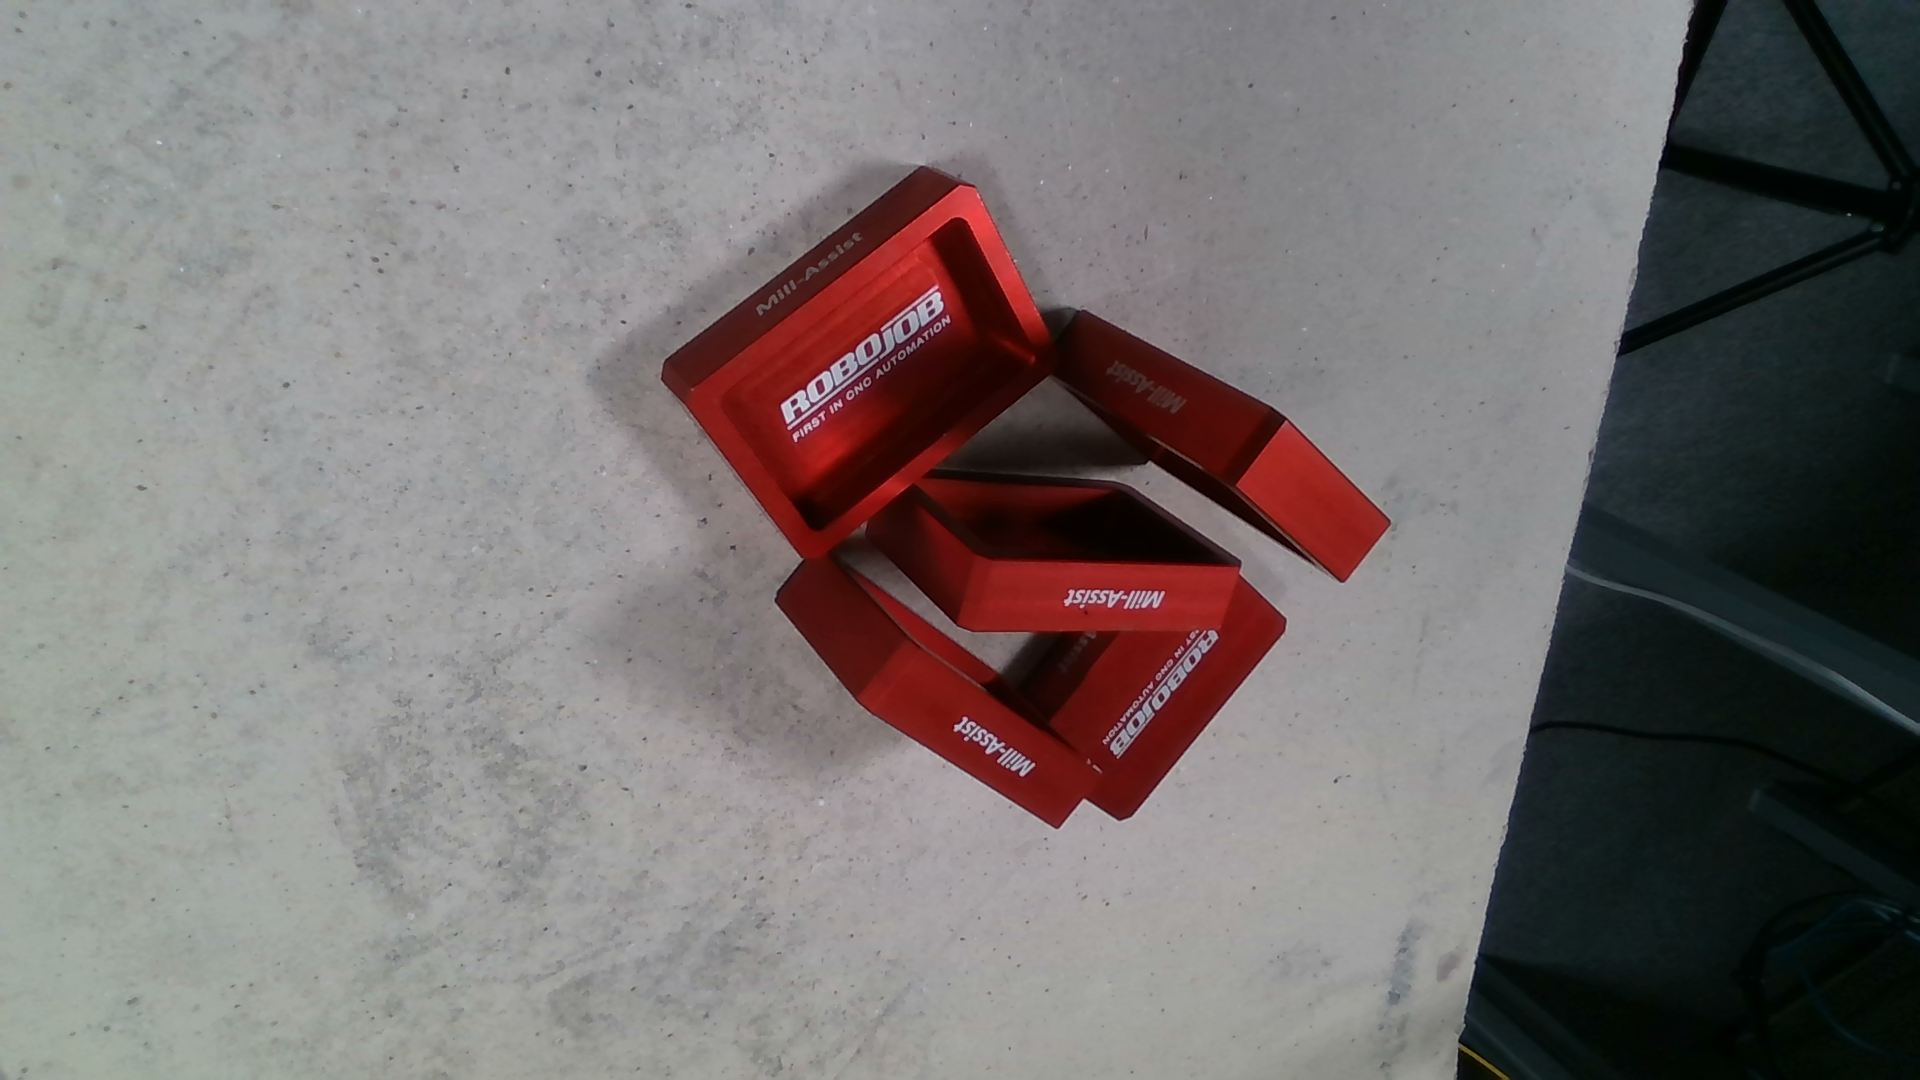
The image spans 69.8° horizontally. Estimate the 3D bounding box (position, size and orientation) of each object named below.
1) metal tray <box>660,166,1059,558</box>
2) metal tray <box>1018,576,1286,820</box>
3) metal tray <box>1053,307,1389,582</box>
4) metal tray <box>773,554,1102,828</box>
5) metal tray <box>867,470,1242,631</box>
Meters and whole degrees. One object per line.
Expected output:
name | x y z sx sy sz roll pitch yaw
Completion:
metal tray | -0.035 -0.066 0.521 0.130 0.030 0.090 -39 129 -8
metal tray | 0.089 0.064 0.666 0.130 0.030 0.090 -51 129 2
metal tray | 0.099 -0.040 0.552 0.090 0.130 0.030 34 94 -39
metal tray | -0.008 0.061 0.567 0.030 0.090 0.130 -50 129 1
metal tray | 0.038 0.003 0.564 0.130 0.090 0.030 2 113 -32
